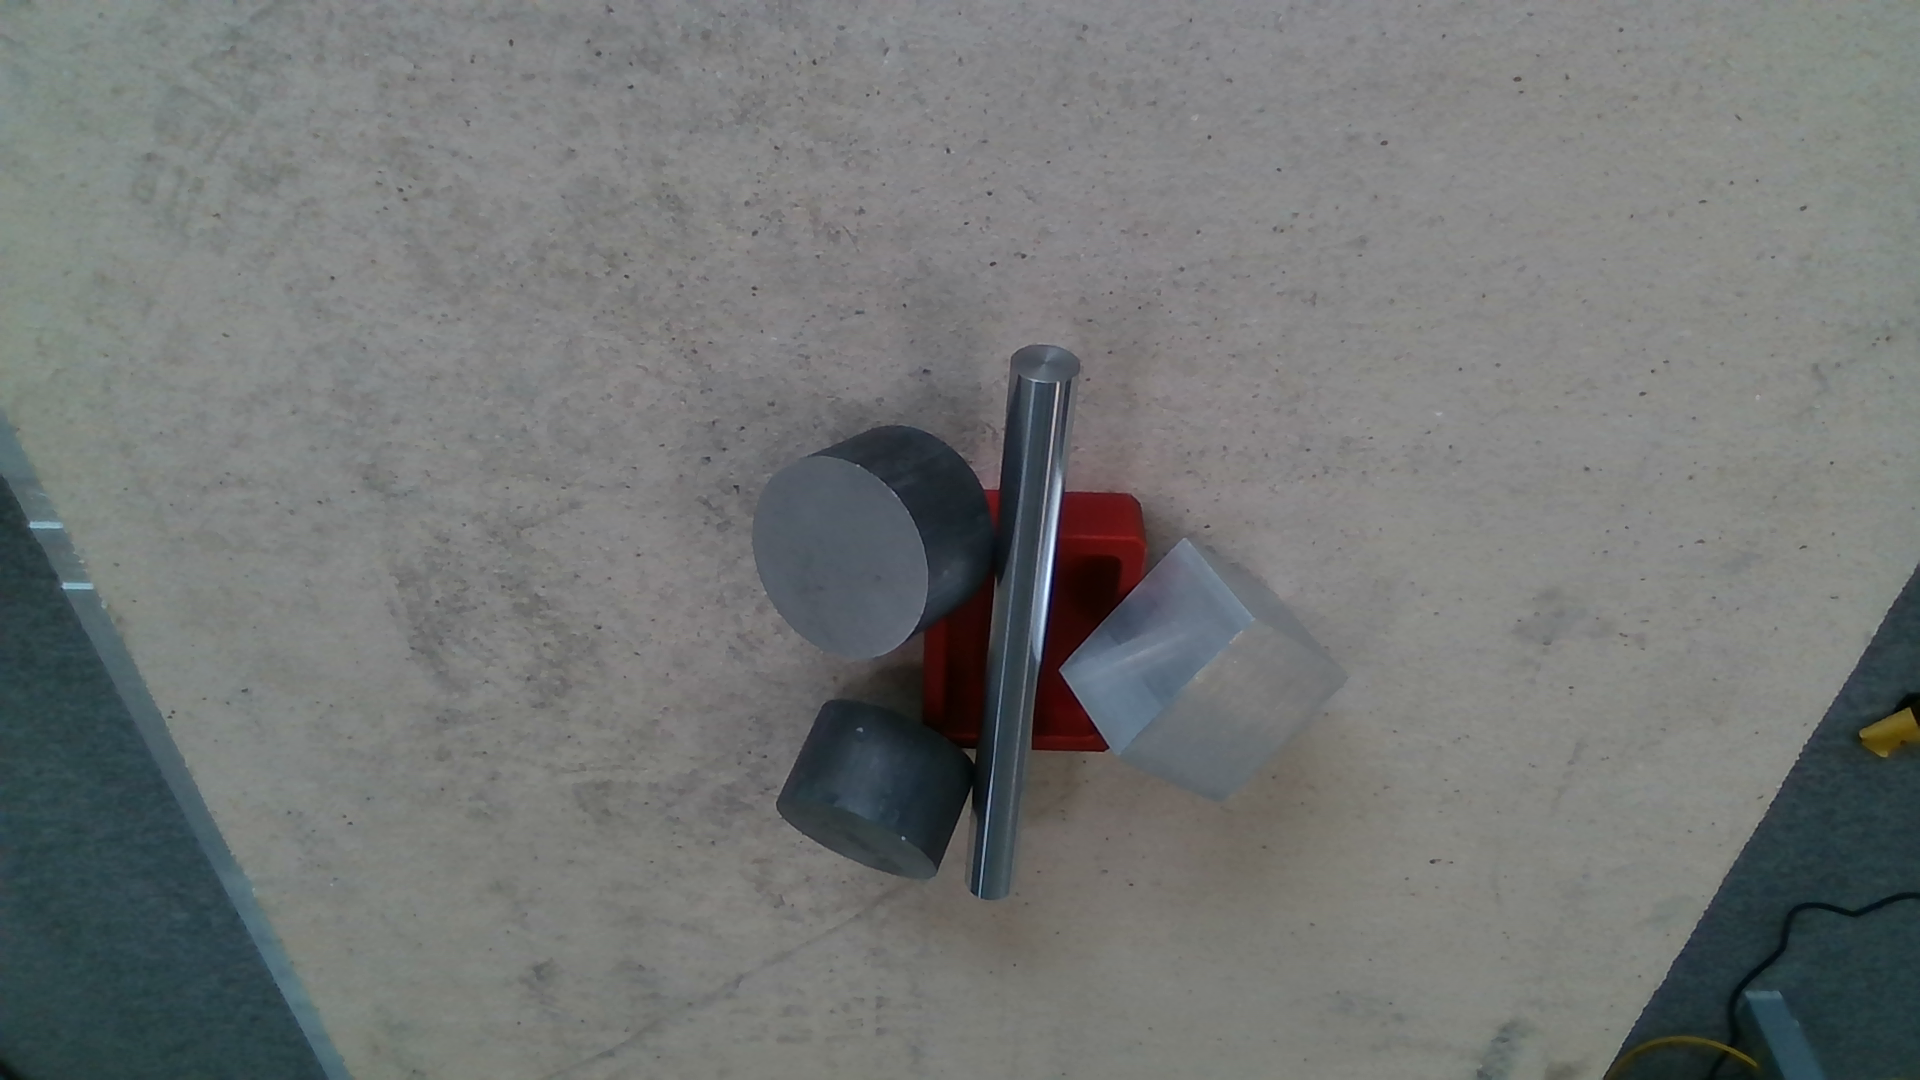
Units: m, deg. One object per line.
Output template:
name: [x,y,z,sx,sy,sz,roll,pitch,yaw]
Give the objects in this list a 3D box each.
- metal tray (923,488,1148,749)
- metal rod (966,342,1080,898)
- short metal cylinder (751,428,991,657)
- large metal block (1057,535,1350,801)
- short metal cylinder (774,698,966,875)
metal tray: [0.030,0.037,0.609,0.090,0.030,0.130,1,130,-1]
metal rod: [0.022,0.052,0.584,0.025,0.025,0.301,2,130,-2]
short metal cylinder: [-0.034,-0.001,0.539,0.080,0.050,0.080,11,113,28]
large metal block: [0.103,0.056,0.583,0.080,0.050,0.080,29,110,-42]
short metal cylinder: [-0.039,0.116,0.640,0.080,0.050,0.080,19,152,10]
